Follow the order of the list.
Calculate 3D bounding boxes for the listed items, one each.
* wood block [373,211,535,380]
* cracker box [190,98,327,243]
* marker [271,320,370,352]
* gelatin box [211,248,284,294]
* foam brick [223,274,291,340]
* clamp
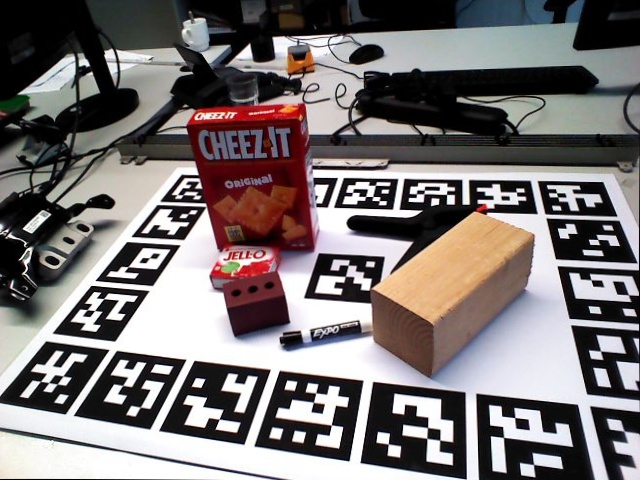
[{"bbox_3d":[0.168,0.058,0.628,0.205,0.091,0.090,-32,41,-30],"label":"wood block"},{"bbox_3d":[-0.083,-0.095,0.763,0.165,0.214,0.071,1,38,10],"label":"cracker box"},{"bbox_3d":[0.000,0.118,0.637,0.121,0.020,0.019,-11,40,-2],"label":"marker"},{"bbox_3d":[-0.104,0.044,0.752,0.090,0.030,0.073,1,41,13],"label":"gelatin box"},{"bbox_3d":[-0.083,0.086,0.673,0.078,0.051,0.052,-14,40,-5],"label":"foam brick"},{"bbox_3d":[0.163,-0.018,0.764,0.202,0.037,0.165,-18,39,-10],"label":"clamp"}]
